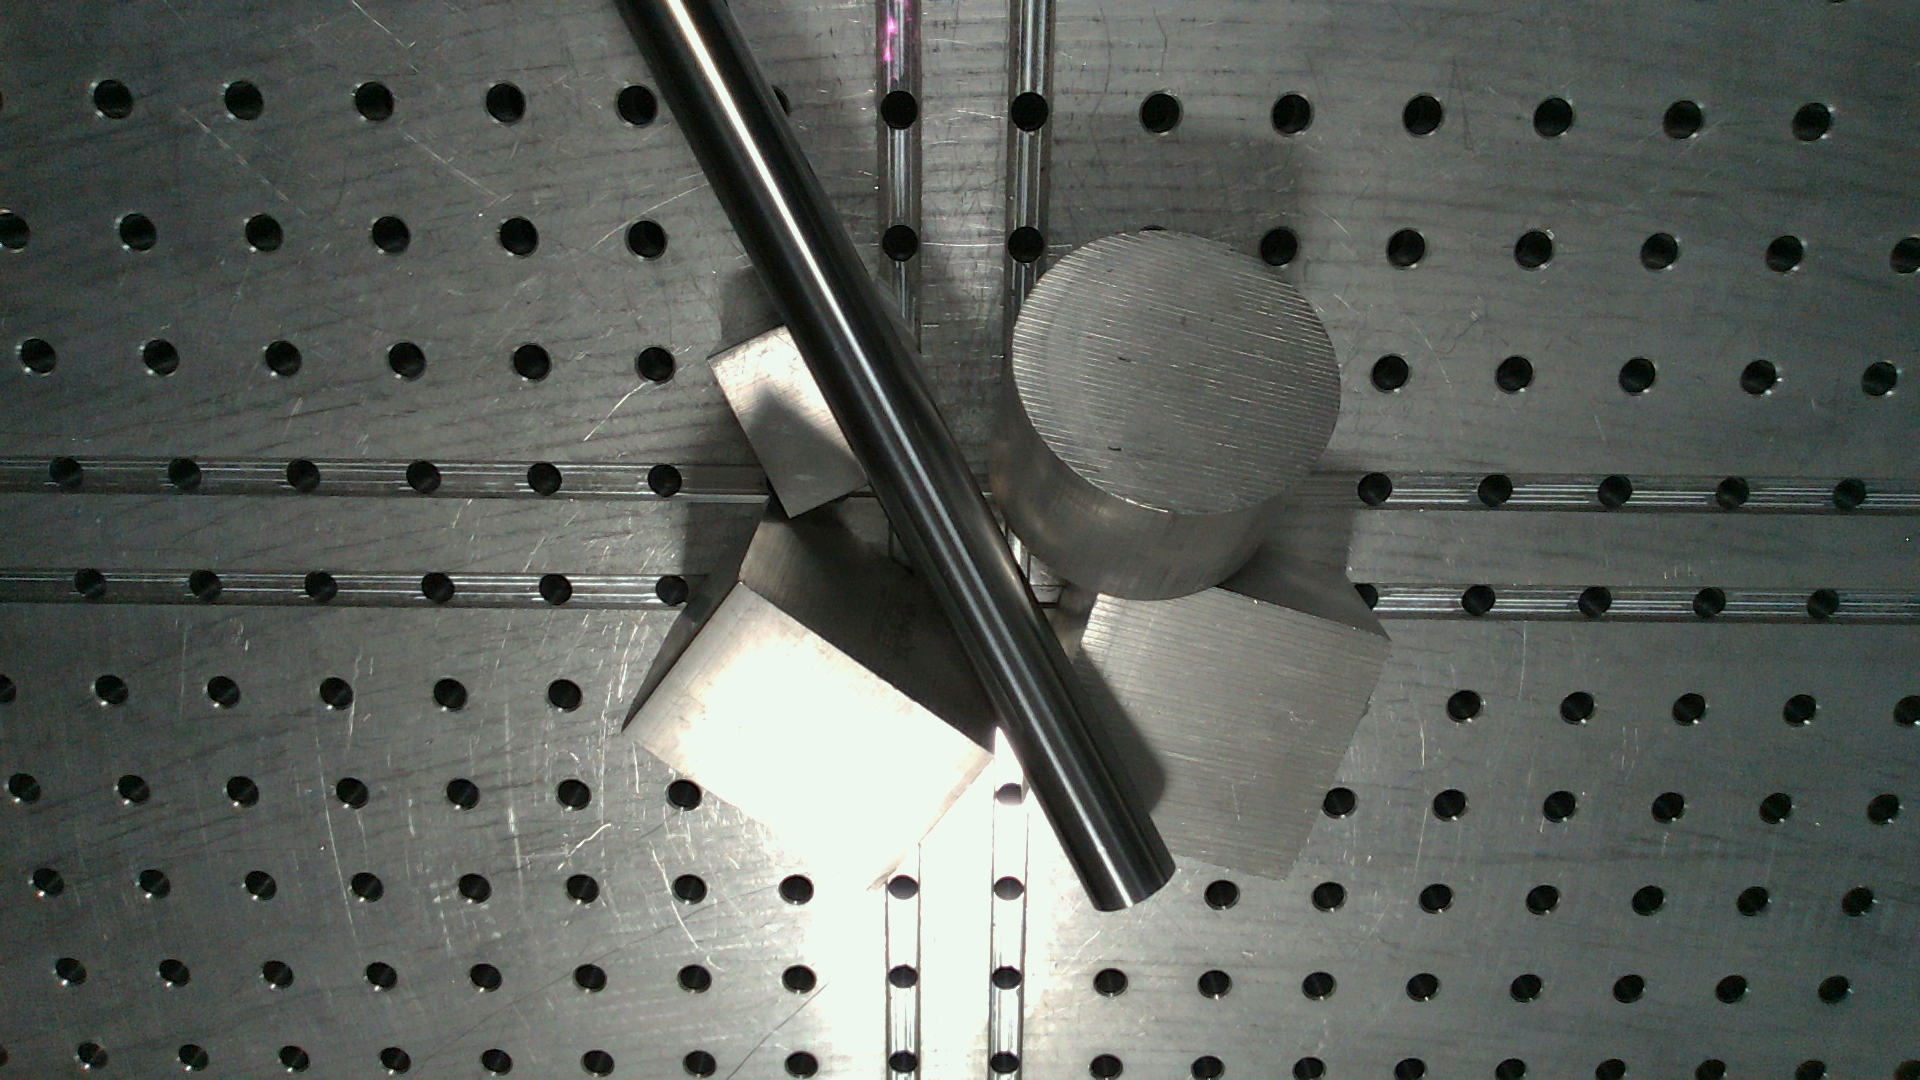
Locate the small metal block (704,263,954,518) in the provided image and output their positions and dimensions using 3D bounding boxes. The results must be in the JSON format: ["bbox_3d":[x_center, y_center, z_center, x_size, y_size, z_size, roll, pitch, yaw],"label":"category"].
[{"bbox_3d":[-0.035,-0.042,0.381,0.050,0.025,0.050,-23,109,8],"label":"small metal block"}]

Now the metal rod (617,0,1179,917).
[{"bbox_3d":[-0.022,-0.039,0.350,0.025,0.025,0.300,-26,97,9],"label":"metal rod"}]

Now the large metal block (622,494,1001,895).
[{"bbox_3d":[-0.037,0.037,0.380,0.080,0.080,0.050,35,106,-12],"label":"large metal block"}]

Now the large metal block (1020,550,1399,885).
[{"bbox_3d":[0.067,0.043,0.399,0.080,0.050,0.080,16,109,-6],"label":"large metal block"}]

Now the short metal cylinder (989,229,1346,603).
[{"bbox_3d":[0.050,-0.031,0.349,0.080,0.080,0.050,8,154,-3],"label":"short metal cylinder"}]
